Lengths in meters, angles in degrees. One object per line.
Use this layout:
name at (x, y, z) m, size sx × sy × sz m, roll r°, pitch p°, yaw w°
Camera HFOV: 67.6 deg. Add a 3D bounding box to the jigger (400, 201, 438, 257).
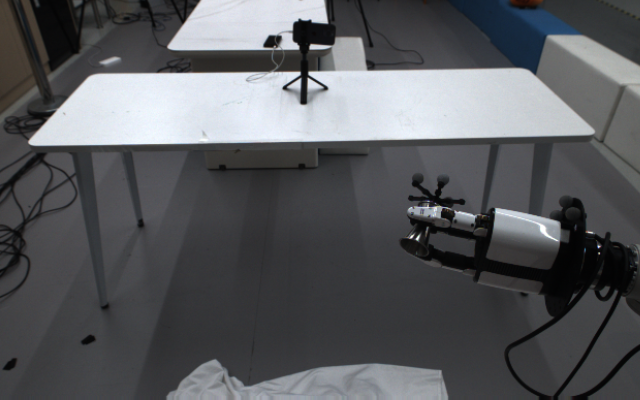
jigger at (0.143, 0.035, 0.676) m, size 0.043 × 0.043 × 0.071 m, roll 19°, pitch 61°, yaw 23°
